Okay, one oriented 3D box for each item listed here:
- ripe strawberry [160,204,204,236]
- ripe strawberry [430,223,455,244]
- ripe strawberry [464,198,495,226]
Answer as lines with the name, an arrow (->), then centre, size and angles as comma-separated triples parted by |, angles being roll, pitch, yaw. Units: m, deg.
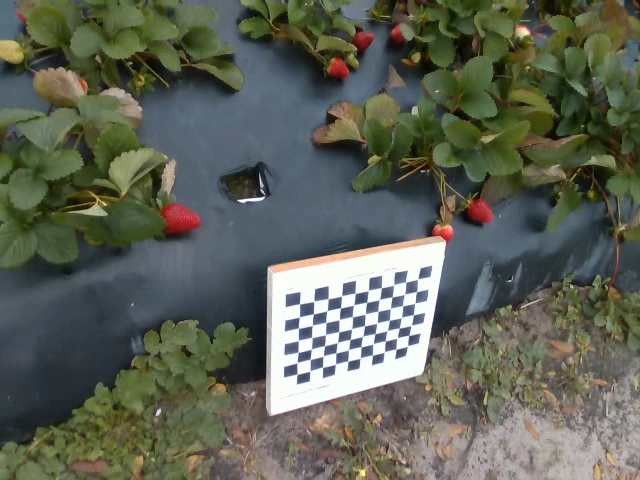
ripe strawberry -> -0.198, -0.027, 0.788 | 0.064, 0.046, 0.049 | 14, 32, 5
ripe strawberry -> 0.201, -0.009, 0.912 | 0.036, 0.041, 0.027 | -5, 11, -11
ripe strawberry -> 0.266, -0.049, 0.934 | 0.044, 0.059, 0.042 | -43, 13, 16
